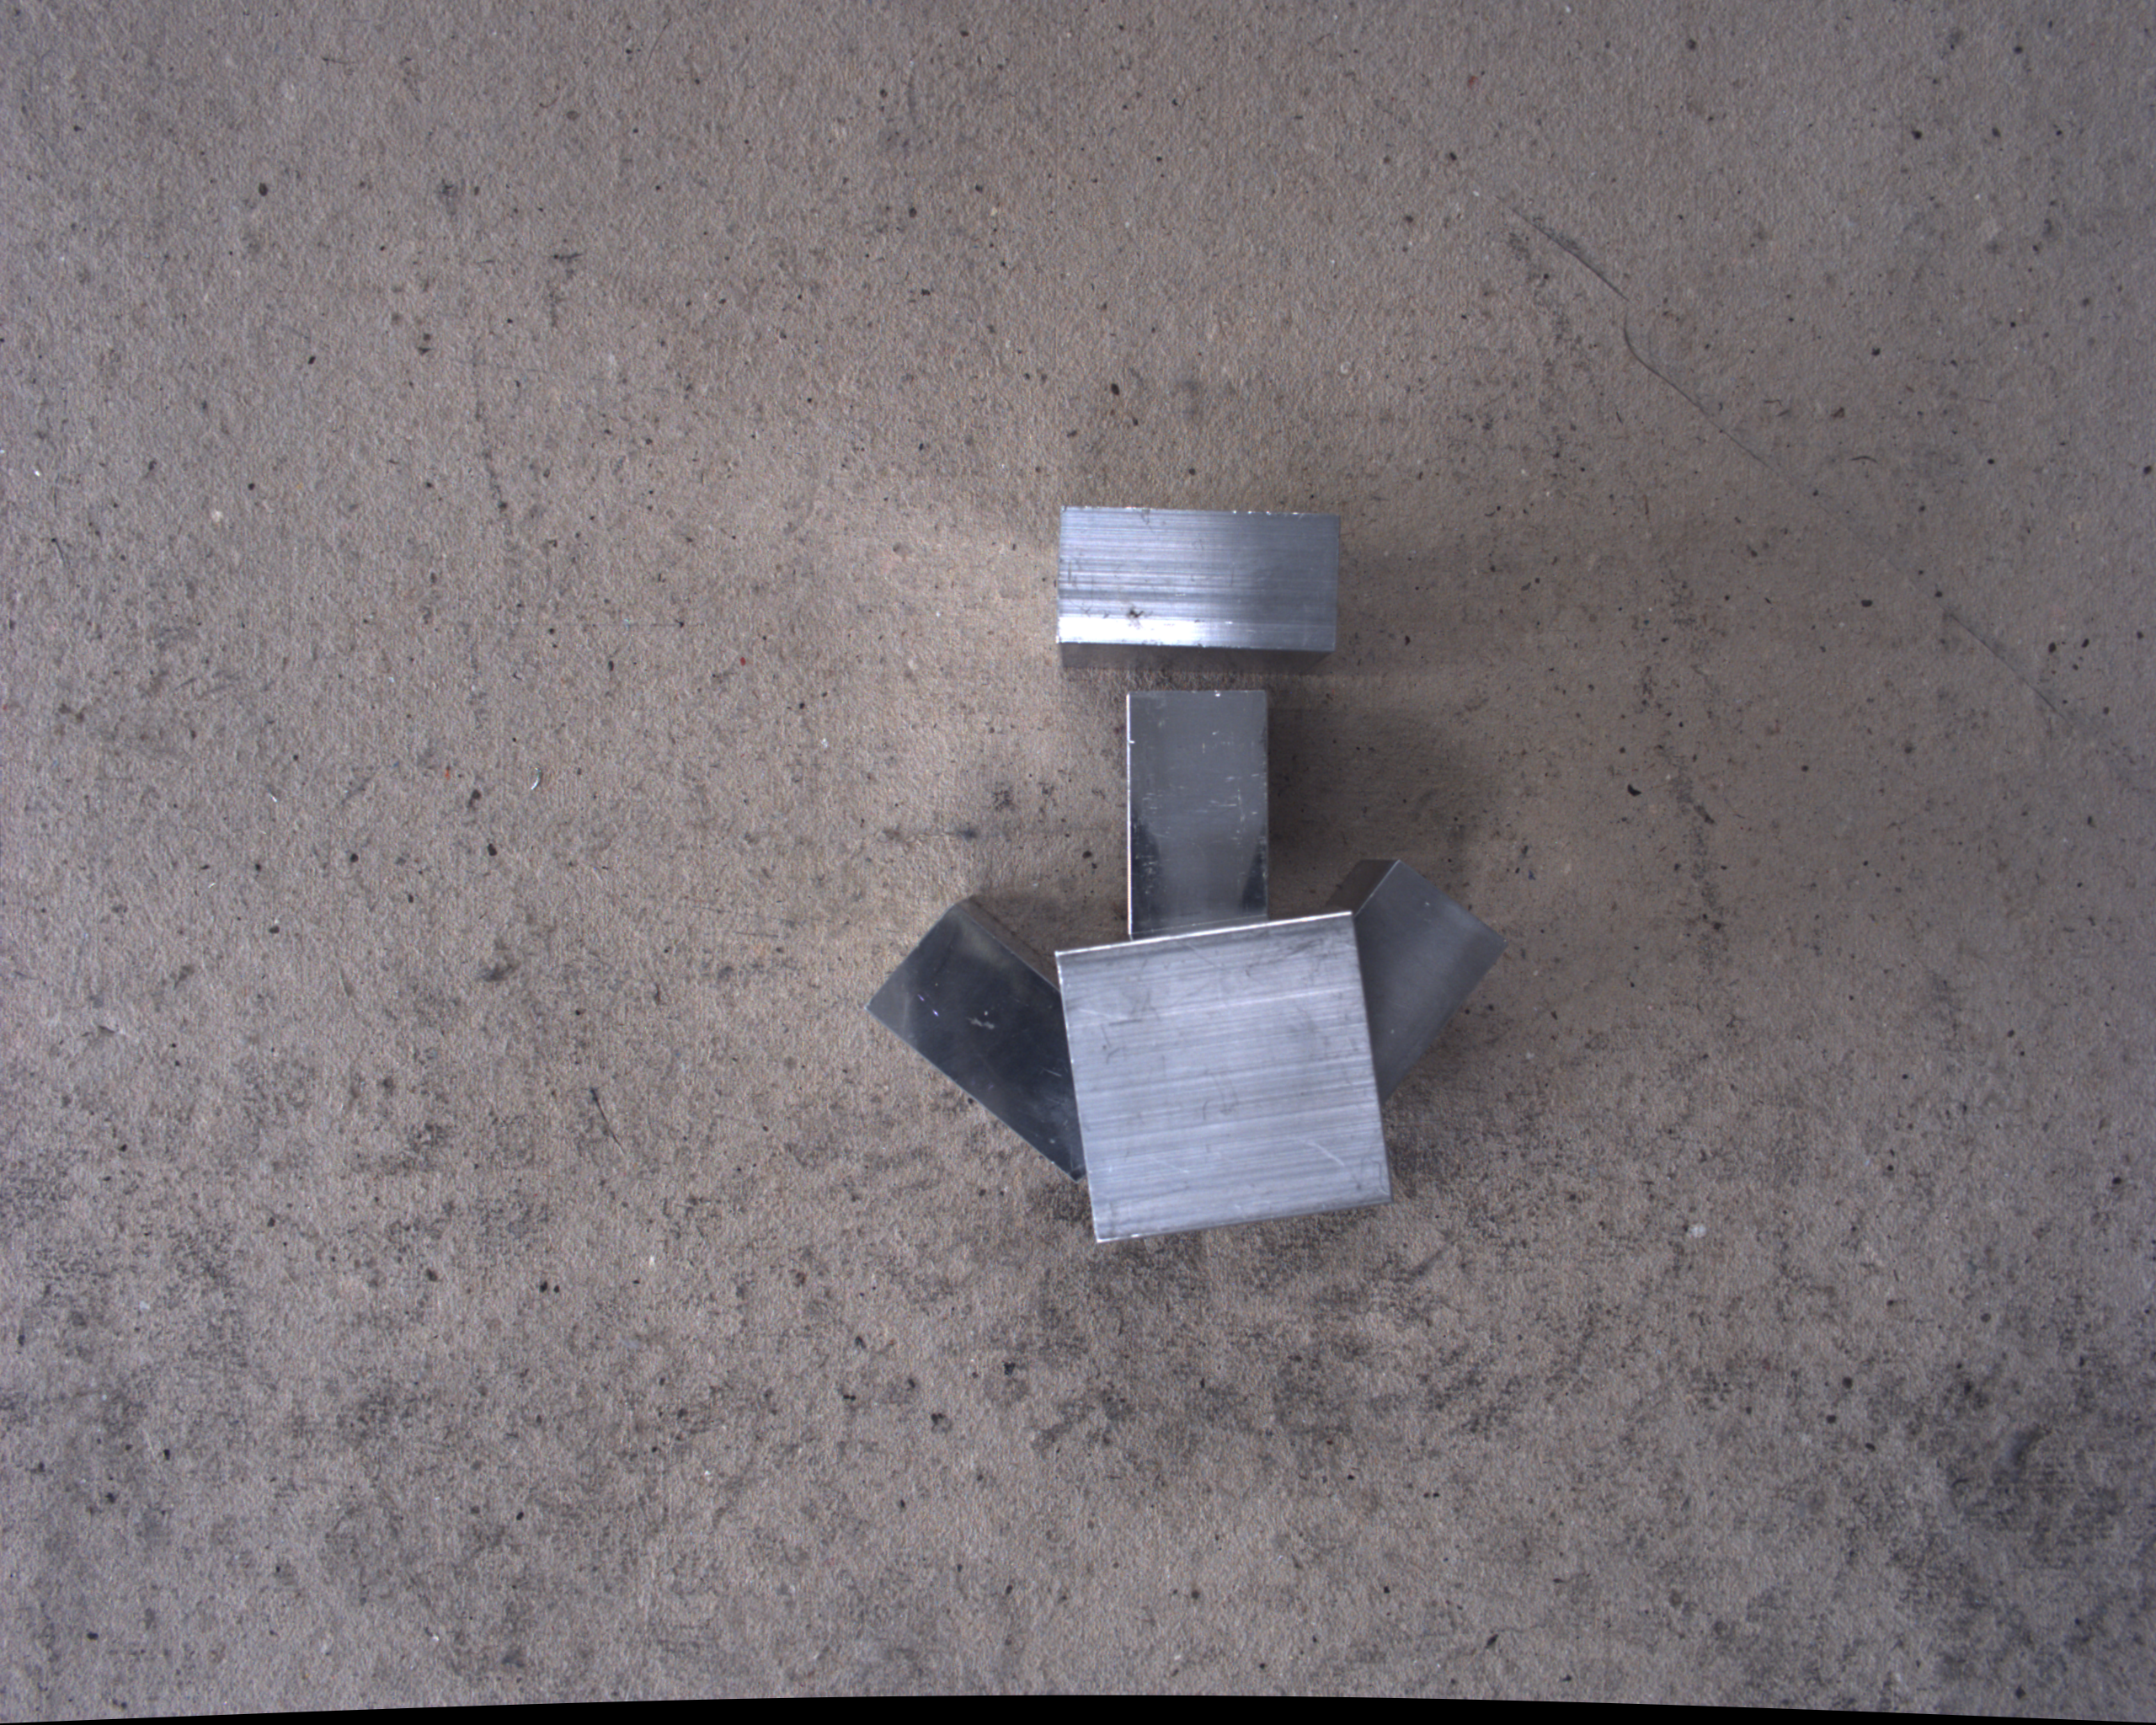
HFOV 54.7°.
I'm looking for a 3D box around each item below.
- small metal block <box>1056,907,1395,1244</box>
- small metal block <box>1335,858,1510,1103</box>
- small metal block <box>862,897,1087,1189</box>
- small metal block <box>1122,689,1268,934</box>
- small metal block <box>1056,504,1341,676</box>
[{"bbox_3d":[0.025,0.036,0.362,0.050,0.025,0.050,-8,90,0],"label":"small metal block"},{"bbox_3d":[0.052,0.026,0.399,0.025,0.050,0.050,37,90,0],"label":"small metal block"},{"bbox_3d":[-0.012,0.033,0.398,0.050,0.050,0.025,40,90,-1],"label":"small metal block"},{"bbox_3d":[0.021,-0.006,0.399,0.025,0.050,0.050,-1,90,-1],"label":"small metal block"},{"bbox_3d":[0.022,-0.051,0.398,0.050,0.050,0.025,2,90,0],"label":"small metal block"}]
